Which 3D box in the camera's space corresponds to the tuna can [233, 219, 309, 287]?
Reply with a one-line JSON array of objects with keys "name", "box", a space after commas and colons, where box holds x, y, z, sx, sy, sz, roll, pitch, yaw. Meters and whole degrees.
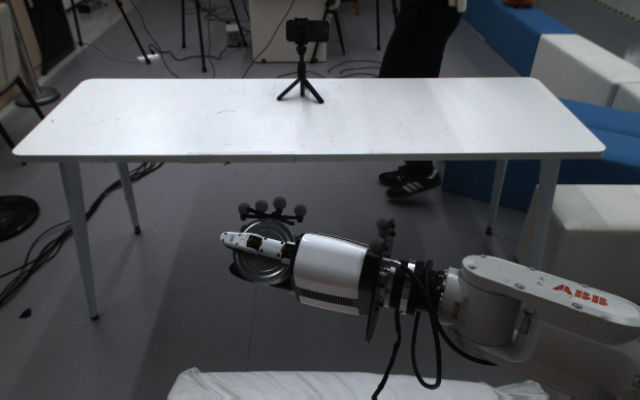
[{"name": "tuna can", "box": [-0.068, 0.074, 0.641, 0.085, 0.034, 0.085, -3, 73, 10]}]
